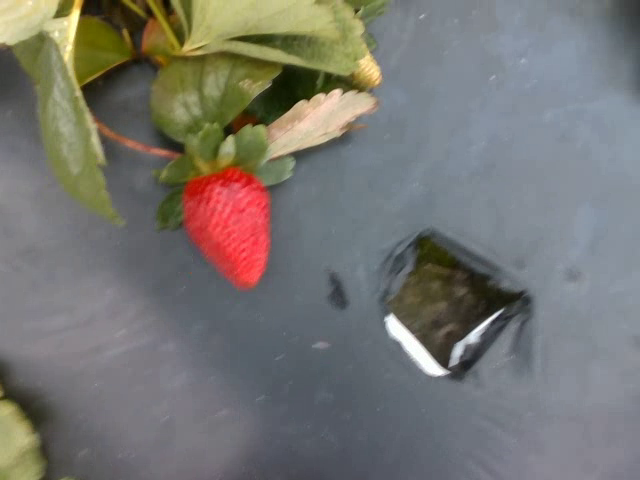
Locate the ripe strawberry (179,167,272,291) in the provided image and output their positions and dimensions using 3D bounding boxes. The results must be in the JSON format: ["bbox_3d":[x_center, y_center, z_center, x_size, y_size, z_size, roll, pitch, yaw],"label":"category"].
[{"bbox_3d":[-0.044,-0.006,0.281,0.048,0.064,0.046,-6,-18,-41],"label":"ripe strawberry"}]
